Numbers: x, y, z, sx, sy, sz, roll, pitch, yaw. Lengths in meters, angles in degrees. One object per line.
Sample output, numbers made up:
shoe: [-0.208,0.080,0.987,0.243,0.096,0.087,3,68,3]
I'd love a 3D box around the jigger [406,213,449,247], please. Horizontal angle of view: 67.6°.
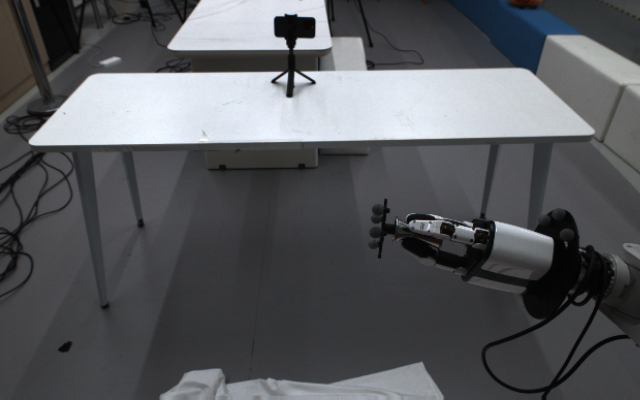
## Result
jigger: [0.150,0.042,0.710,0.071,0.043,0.043,6,35,4]
